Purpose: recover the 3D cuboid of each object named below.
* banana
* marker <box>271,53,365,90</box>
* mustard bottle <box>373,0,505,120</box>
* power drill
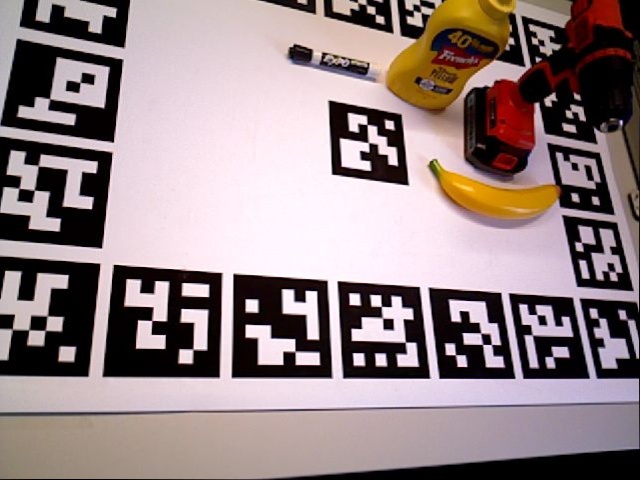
[{"bbox_3d":[0.209,-0.038,0.697,0.195,0.039,0.073,13,69,-15],"label":"banana"},{"bbox_3d":[-0.002,-0.211,0.678,0.120,0.020,0.019,8,70,-19],"label":"marker"},{"bbox_3d":[0.147,-0.218,0.641,0.095,0.195,0.058,17,65,-17],"label":"mustard bottle"},{"bbox_3d":[0.252,-0.152,0.642,0.057,0.191,0.182,19,63,-17],"label":"power drill"}]
